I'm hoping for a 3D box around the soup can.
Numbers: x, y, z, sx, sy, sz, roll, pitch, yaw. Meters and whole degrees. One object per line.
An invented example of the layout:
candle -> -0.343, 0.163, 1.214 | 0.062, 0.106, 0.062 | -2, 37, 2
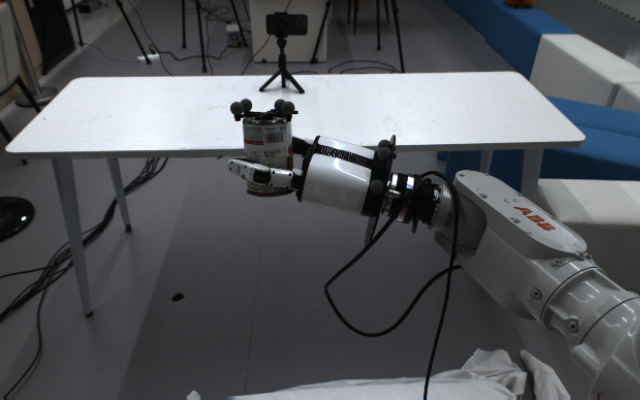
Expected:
soup can -> -0.069, -0.061, 0.664 | 0.067, 0.101, 0.067 | -1, 17, 0
